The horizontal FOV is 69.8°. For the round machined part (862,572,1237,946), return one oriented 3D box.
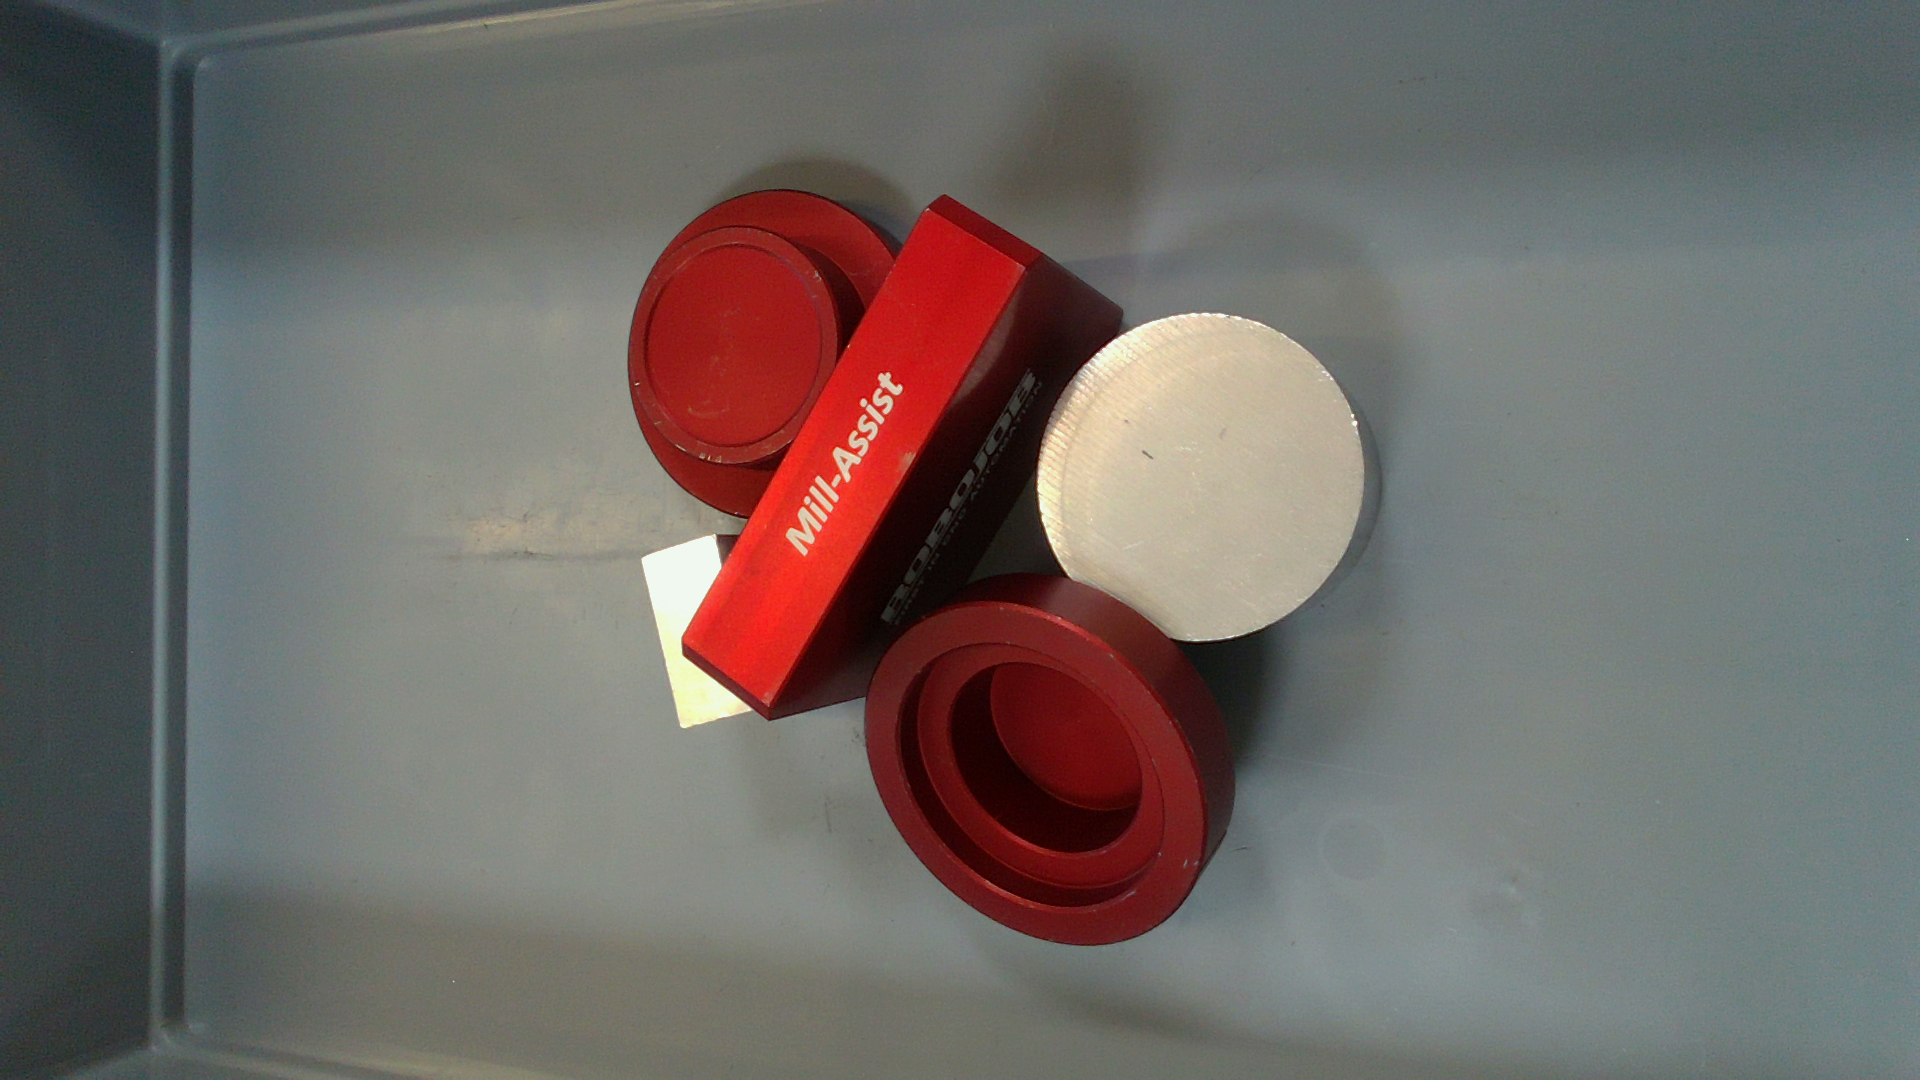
[{"bbox_3d":[0.026,0.054,0.364,0.098,0.042,0.098,13,117,26],"label":"round machined part"}]

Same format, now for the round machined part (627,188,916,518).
[{"bbox_3d":[-0.057,-0.055,0.405,0.098,0.042,0.098,0,90,20],"label":"round machined part"}]

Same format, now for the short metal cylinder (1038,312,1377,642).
[{"bbox_3d":[0.066,-0.015,0.357,0.080,0.050,0.080,0,90,20],"label":"short metal cylinder"}]

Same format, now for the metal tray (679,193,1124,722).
[{"bbox_3d":[-0.012,-0.018,0.364,0.030,0.090,0.130,34,101,17],"label":"metal tray"}]

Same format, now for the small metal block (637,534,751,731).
[{"bbox_3d":[-0.065,0.026,0.404,0.025,0.050,0.050,-16,85,19],"label":"small metal block"}]
